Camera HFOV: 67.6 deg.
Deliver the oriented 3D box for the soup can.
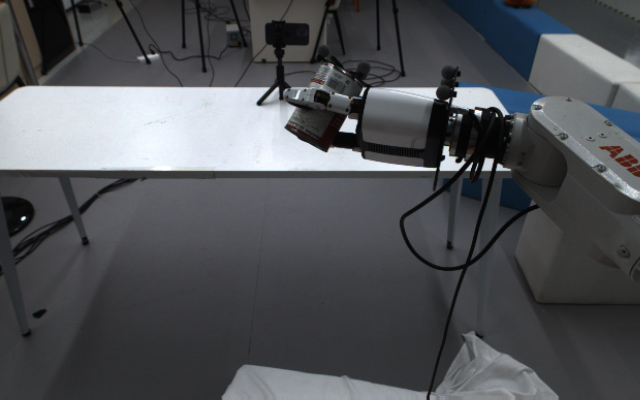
[{"bbox_3d":[0.005,-0.126,0.659,0.067,0.101,0.067,31,1,-1],"label":"soup can"}]
